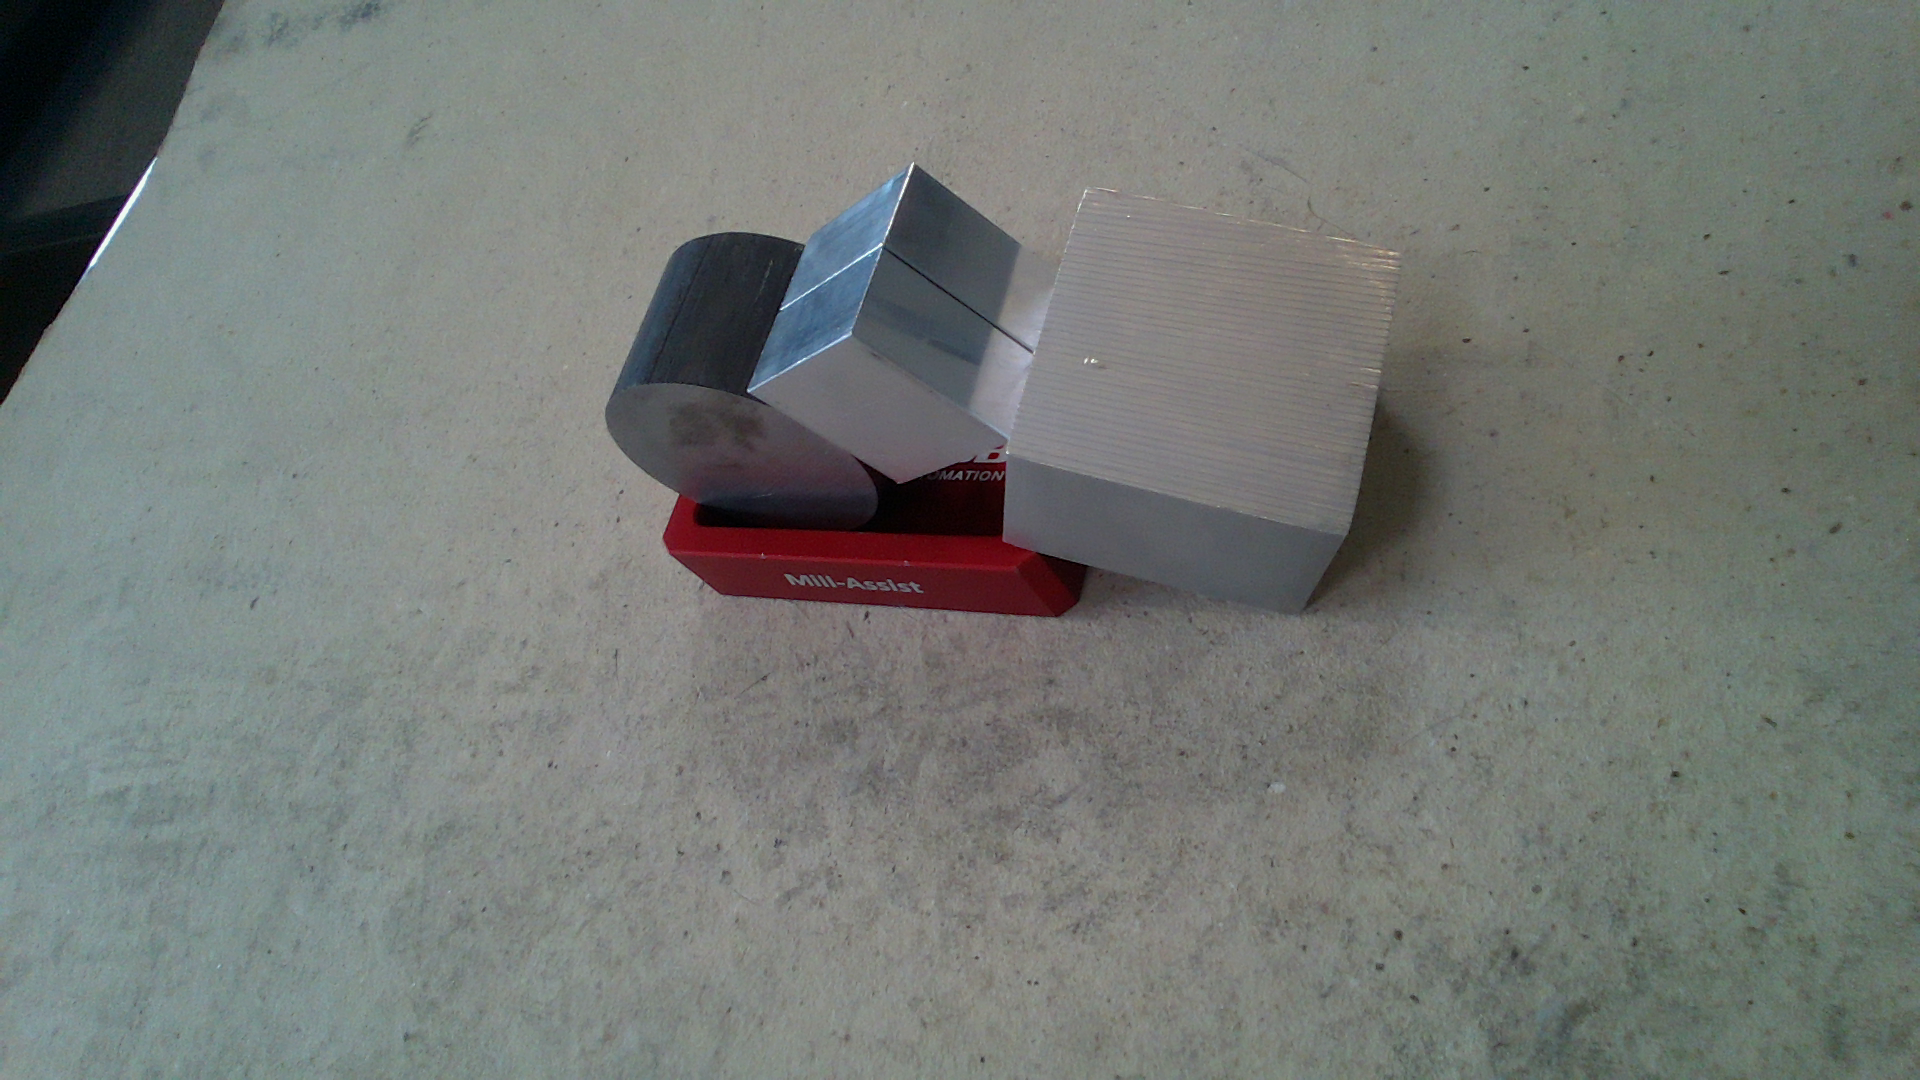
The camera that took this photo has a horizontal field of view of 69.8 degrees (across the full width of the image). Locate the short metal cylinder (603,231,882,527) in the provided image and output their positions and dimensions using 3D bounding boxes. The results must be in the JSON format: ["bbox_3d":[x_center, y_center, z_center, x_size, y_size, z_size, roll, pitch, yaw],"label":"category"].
[{"bbox_3d":[-0.056,-0.044,0.399,0.080,0.080,0.050,1,62,29],"label":"short metal cylinder"}]

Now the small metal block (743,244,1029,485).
[{"bbox_3d":[-0.017,-0.042,0.344,0.050,0.050,0.025,-17,48,51],"label":"small metal block"}]

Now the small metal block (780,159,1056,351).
[{"bbox_3d":[-0.010,-0.064,0.355,0.050,0.050,0.025,-17,48,51],"label":"small metal block"}]

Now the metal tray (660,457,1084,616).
[{"bbox_3d":[-0.019,-0.027,0.418,0.130,0.030,0.090,2,63,29],"label":"metal tray"}]

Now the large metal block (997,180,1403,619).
[{"bbox_3d":[0.059,-0.035,0.349,0.080,0.050,0.080,15,67,6],"label":"large metal block"}]
